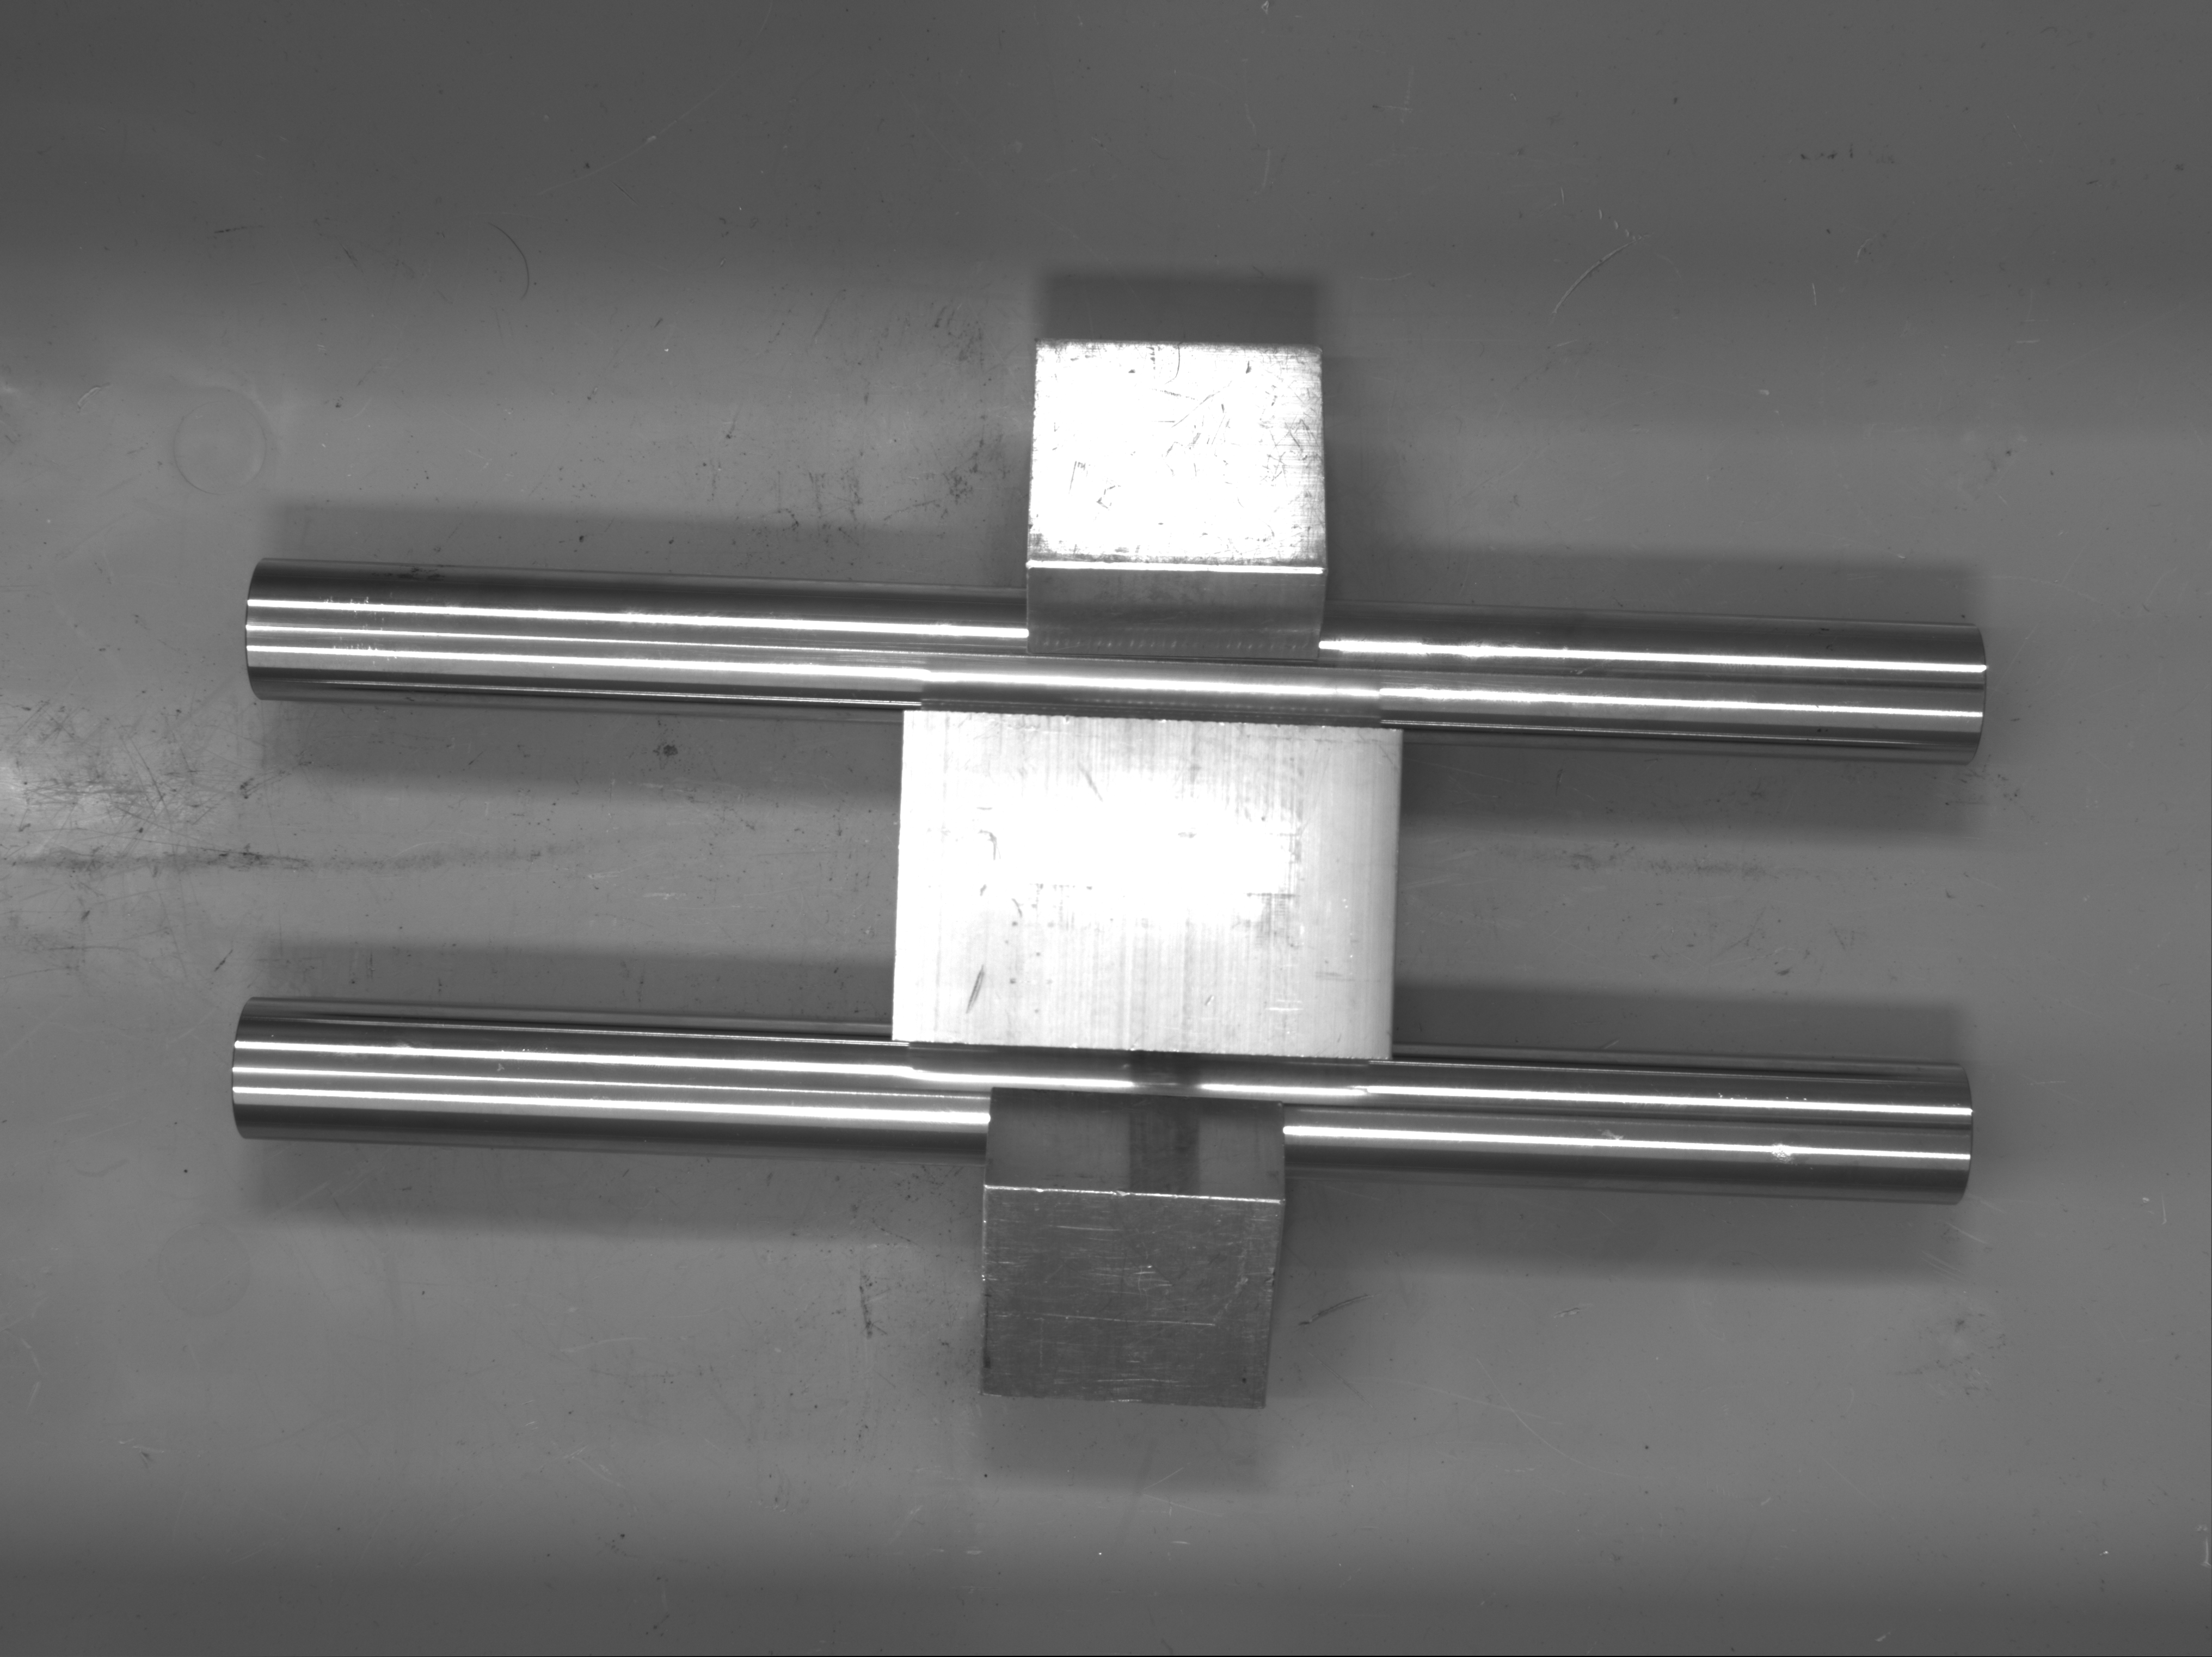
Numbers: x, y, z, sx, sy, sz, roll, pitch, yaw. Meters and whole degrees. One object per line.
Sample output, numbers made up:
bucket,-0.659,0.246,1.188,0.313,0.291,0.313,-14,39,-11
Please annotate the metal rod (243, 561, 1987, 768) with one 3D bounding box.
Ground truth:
metal rod,0.002,-0.029,0.644,0.300,0.025,0.025,2,90,0

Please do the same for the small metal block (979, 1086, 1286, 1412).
small metal block,0.004,0.073,0.633,0.050,0.025,0.050,3,127,0

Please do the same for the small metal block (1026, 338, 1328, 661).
small metal block,0.012,-0.057,0.633,0.050,0.025,0.050,1,55,0

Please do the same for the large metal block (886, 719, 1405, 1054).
large metal block,0.006,0.009,0.616,0.080,0.080,0.050,2,90,0

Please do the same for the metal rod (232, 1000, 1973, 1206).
metal rod,0.000,0.048,0.645,0.300,0.025,0.025,2,90,0
